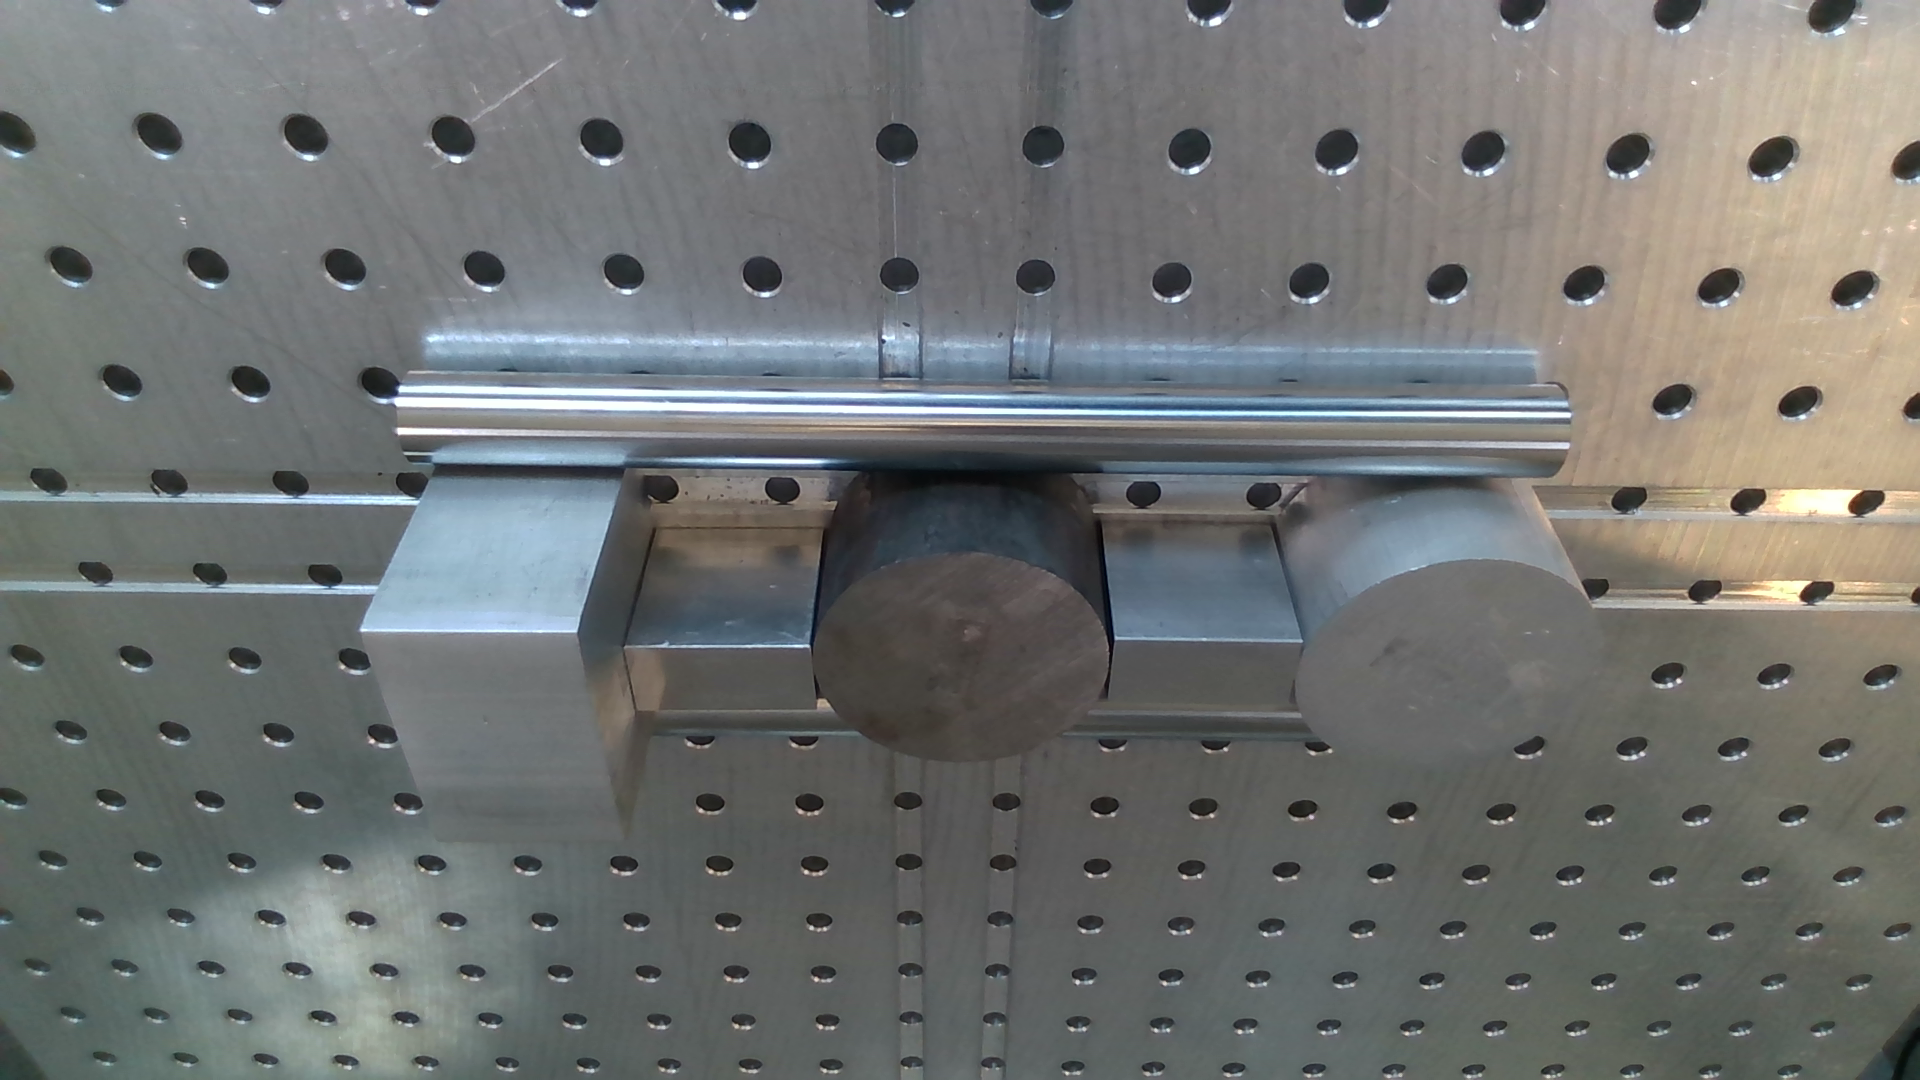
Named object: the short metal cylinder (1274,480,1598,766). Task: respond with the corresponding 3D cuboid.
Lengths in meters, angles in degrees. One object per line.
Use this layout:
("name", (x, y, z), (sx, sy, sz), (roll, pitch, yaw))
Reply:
("short metal cylinder", (0.131, 0.019, 0.391), (0.080, 0.050, 0.080), (0, 130, 0))

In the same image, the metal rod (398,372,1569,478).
("metal rod", (0.006, -0.030, 0.365), (0.300, 0.025, 0.025), (1, 130, 0))

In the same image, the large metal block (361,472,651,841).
("large metal block", (-0.115, 0.025, 0.377), (0.050, 0.080, 0.080), (1, 130, 0))

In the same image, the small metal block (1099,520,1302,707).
("small metal block", (0.066, 0.020, 0.391), (0.050, 0.050, 0.025), (1, 130, 0))

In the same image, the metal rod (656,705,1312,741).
("metal rod", (0.006, 0.050, 0.433), (0.300, 0.025, 0.025), (1, 130, 0))

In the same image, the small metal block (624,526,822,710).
("small metal block", (-0.065, 0.022, 0.393), (0.050, 0.050, 0.025), (0, 130, 0))

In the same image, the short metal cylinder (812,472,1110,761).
("short metal cylinder", (0.000, 0.017, 0.390), (0.080, 0.050, 0.080), (0, 130, 0))
